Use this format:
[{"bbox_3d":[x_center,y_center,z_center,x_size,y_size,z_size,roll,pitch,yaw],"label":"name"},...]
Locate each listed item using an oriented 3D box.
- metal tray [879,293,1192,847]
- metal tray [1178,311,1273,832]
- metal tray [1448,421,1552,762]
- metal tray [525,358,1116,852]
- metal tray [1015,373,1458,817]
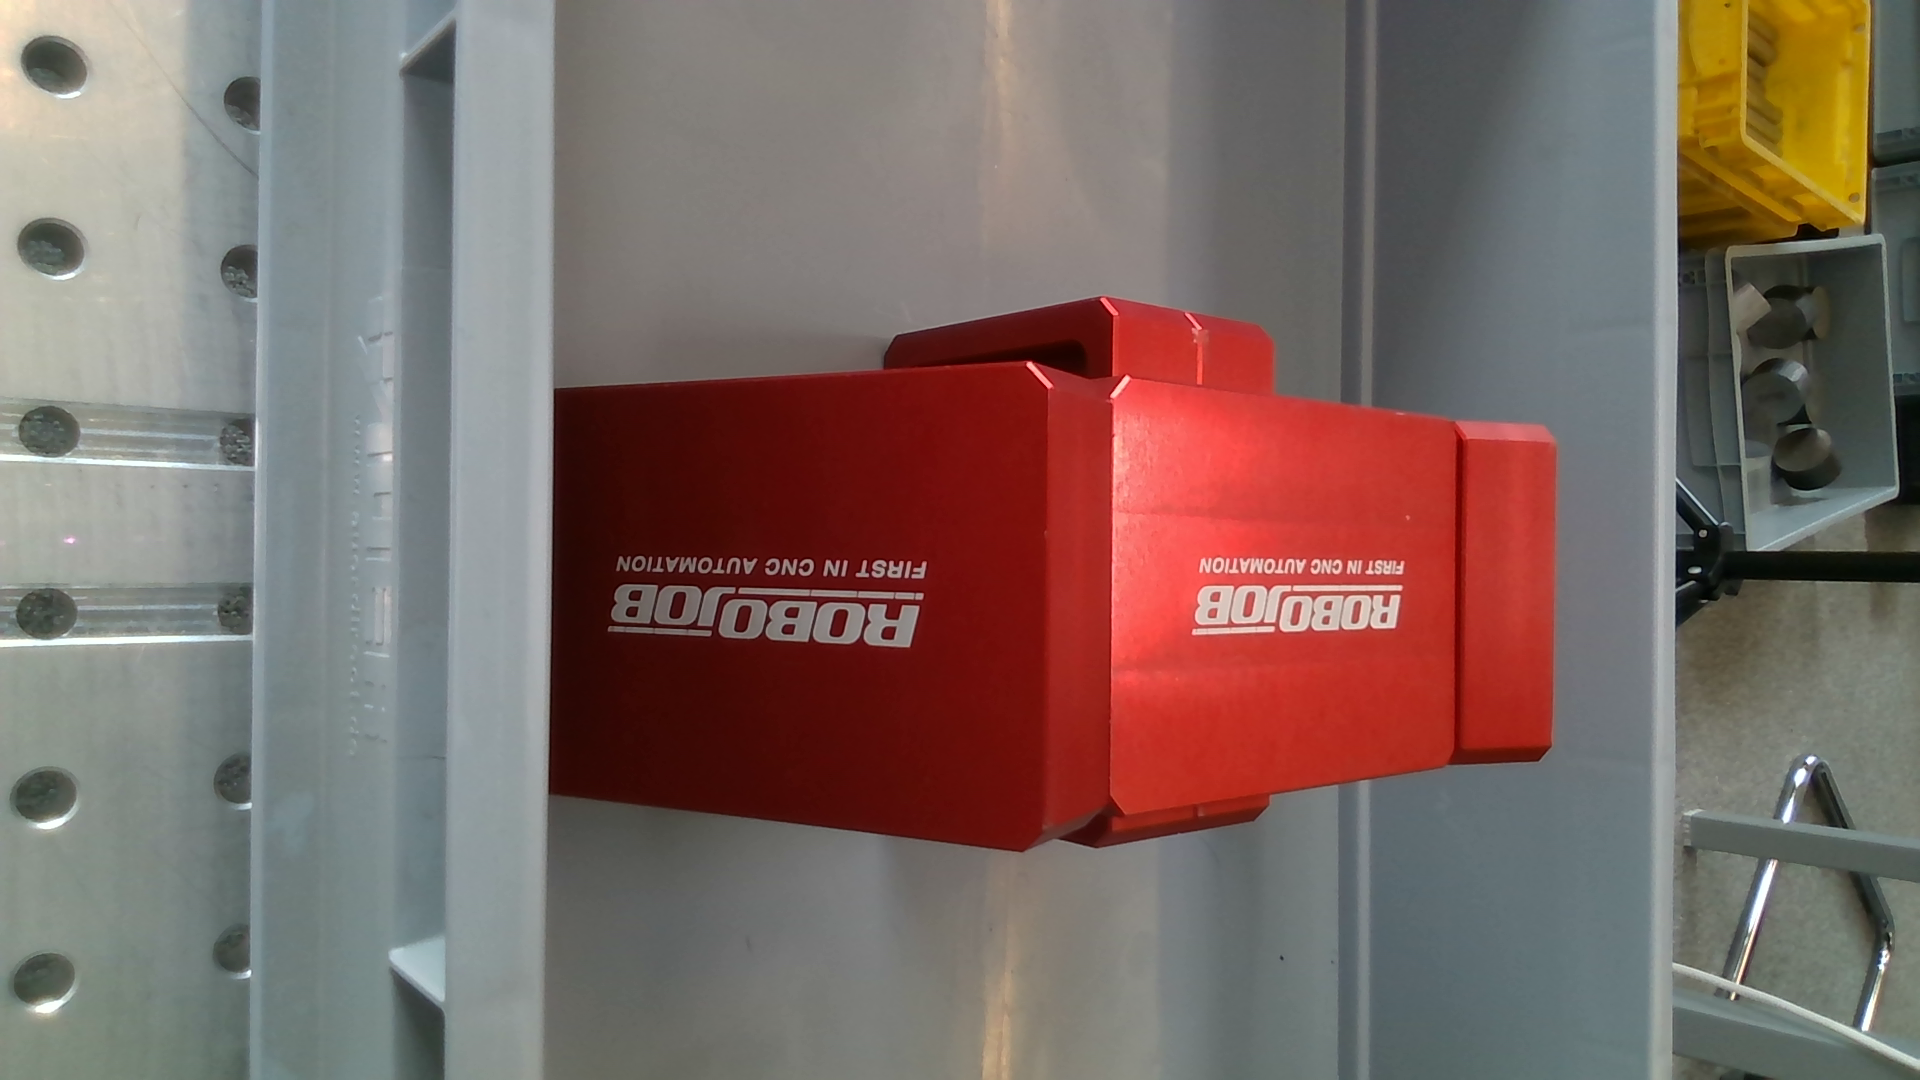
[{"bbox_3d":[0.017,0.007,0.363,0.030,0.090,0.130,1,90,-40],"label":"metal tray"},{"bbox_3d":[0.041,0.008,0.382,0.030,0.090,0.130,1,90,-40],"label":"metal tray"},{"bbox_3d":[0.122,0.014,0.424,0.030,0.130,0.090,1,90,-20],"label":"metal tray"},{"bbox_3d":[-0.034,0.011,0.291,0.030,0.130,0.090,0,91,-62],"label":"metal tray"},{"bbox_3d":[0.070,0.012,0.328,0.130,0.030,0.090,1,90,-40],"label":"metal tray"}]
